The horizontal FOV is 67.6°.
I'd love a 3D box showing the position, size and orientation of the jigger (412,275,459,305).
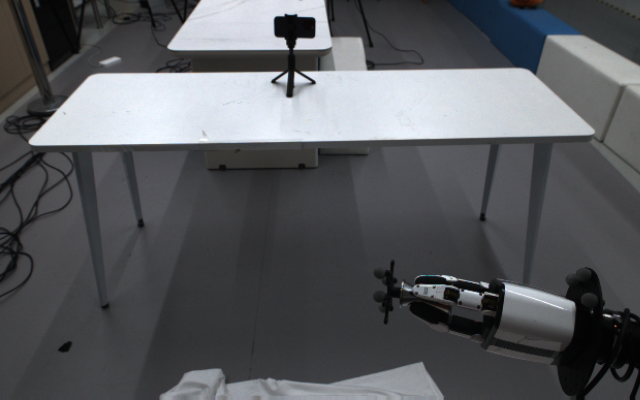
[{"bbox_3d":[0.153,0.127,0.663,0.071,0.043,0.043,4,34,16],"label":"jigger"}]
